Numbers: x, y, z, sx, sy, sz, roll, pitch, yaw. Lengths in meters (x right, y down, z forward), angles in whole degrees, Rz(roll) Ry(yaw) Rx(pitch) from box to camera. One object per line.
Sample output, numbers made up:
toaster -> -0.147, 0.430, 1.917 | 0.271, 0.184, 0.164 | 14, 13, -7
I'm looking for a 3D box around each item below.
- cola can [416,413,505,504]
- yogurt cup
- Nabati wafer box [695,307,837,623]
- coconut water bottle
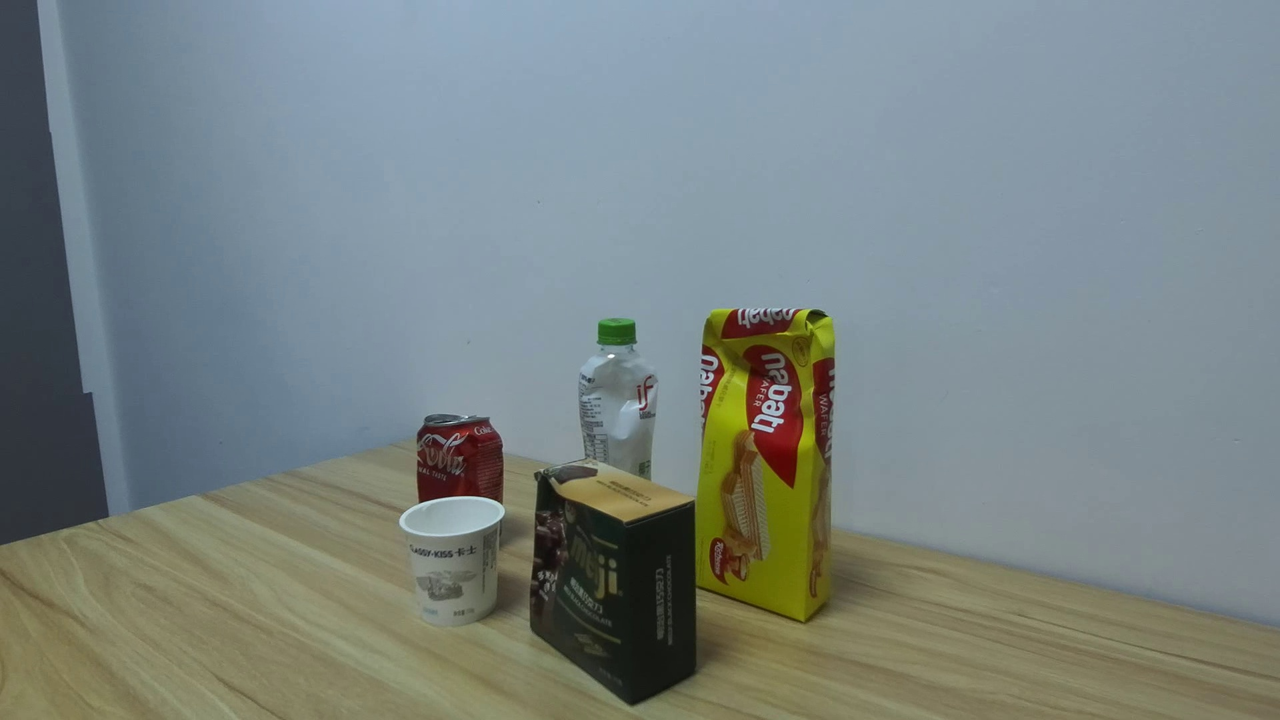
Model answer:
cola can -> -0.151, 0.101, 0.593 | 0.066, 0.112, 0.069 | -7, 11, -33
yogurt cup -> -0.127, 0.139, 0.487 | 0.072, 0.068, 0.072 | -1, 10, 0
Nabati wafer box -> 0.084, 0.067, 0.487 | 0.113, 0.205, 0.043 | 5, 10, 39
coconut water bottle -> -0.018, 0.060, 0.587 | 0.069, 0.186, 0.069 | 1, 7, 0
